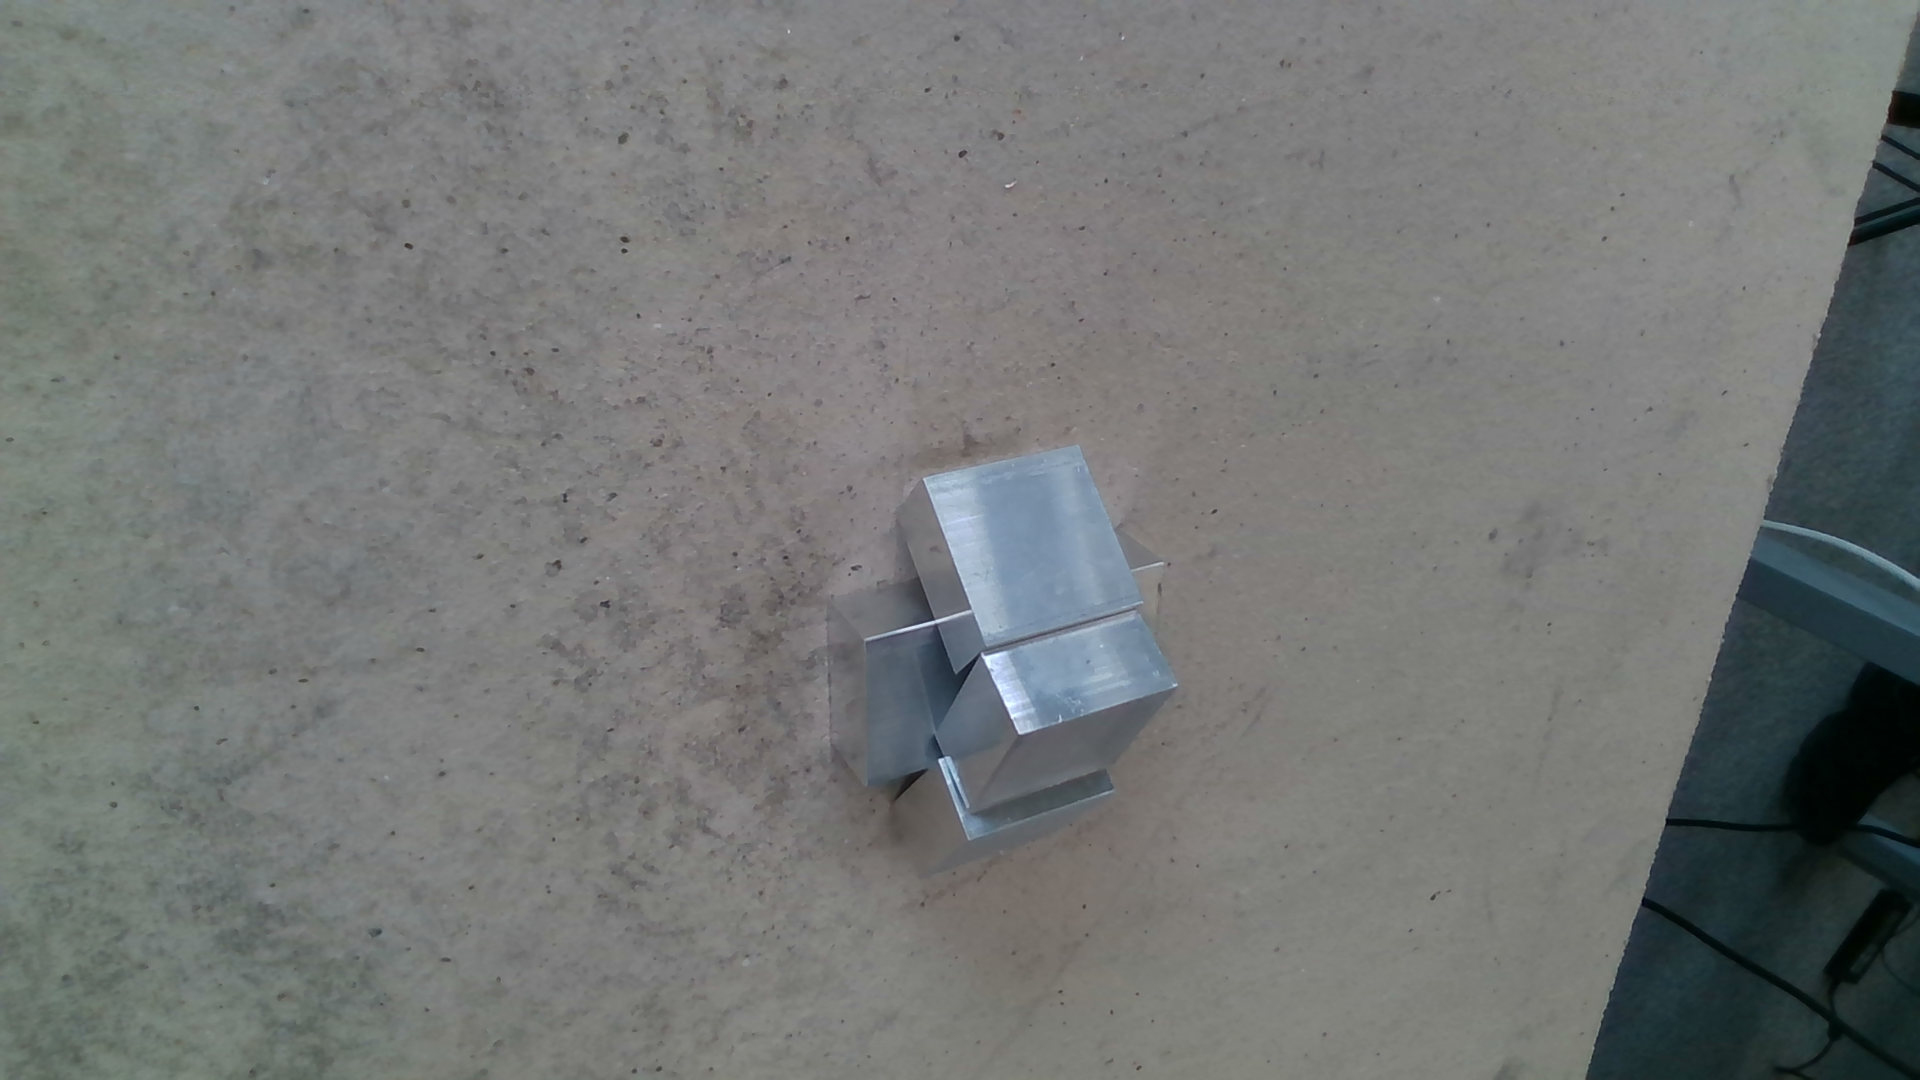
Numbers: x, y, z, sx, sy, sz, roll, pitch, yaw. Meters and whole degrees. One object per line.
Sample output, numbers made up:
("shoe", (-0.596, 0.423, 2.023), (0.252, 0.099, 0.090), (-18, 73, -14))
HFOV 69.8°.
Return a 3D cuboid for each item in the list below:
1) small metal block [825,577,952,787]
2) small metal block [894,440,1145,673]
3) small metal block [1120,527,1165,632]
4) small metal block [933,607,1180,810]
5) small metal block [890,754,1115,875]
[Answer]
("small metal block", (-0.011, 0.038, 0.404), (0.050, 0.025, 0.050), (-14, 121, -25))
("small metal block", (0.016, 0.004, 0.384), (0.050, 0.050, 0.025), (-14, 163, -25))
("small metal block", (0.034, 0.028, 0.425), (0.050, 0.025, 0.050), (-14, 121, -25))
("small metal block", (0.026, 0.047, 0.384), (0.050, 0.025, 0.050), (-13, 152, -25))
("small metal block", (0.012, 0.078, 0.424), (0.050, 0.025, 0.050), (-13, 160, -25))
